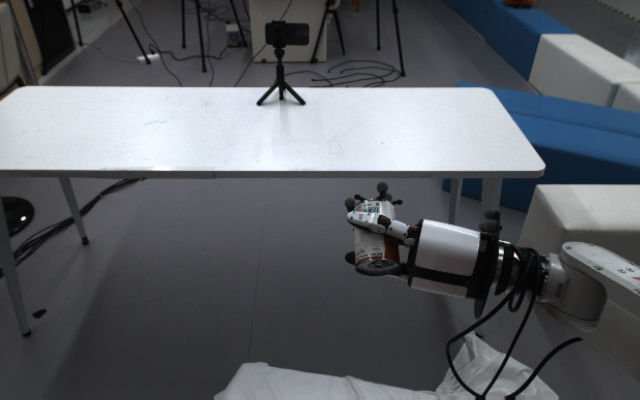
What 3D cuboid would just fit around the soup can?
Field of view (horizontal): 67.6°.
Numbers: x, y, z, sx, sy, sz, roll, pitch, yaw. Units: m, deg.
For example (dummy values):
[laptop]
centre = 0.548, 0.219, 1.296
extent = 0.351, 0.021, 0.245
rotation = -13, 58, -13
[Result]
[soup can]
centre = 0.087, 0.057, 0.740
extent = 0.067, 0.067, 0.101
rotation = 1, 62, -2
